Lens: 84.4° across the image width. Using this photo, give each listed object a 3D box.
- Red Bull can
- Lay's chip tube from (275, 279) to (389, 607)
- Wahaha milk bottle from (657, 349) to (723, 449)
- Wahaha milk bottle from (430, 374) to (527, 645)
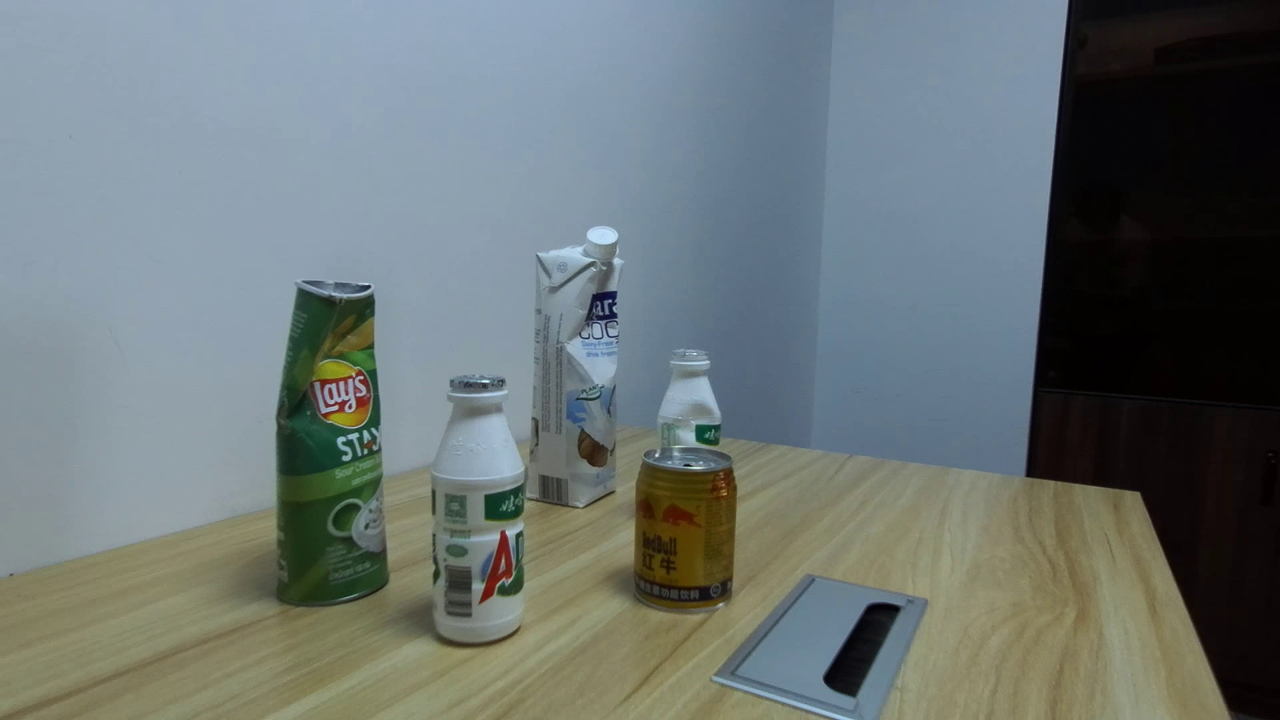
[{"bbox_3d":[0.030,0.109,0.463,0.067,0.093,0.067,2,6,0],"label":"Red Bull can"},{"bbox_3d":[-0.200,0.051,0.458,0.069,0.201,0.077,-2,9,-32],"label":"Lay's chip tube"},{"bbox_3d":[0.042,0.067,0.598,0.055,0.149,0.055,2,7,0],"label":"Wahaha milk bottle"},{"bbox_3d":[-0.092,0.084,0.406,0.053,0.147,0.053,1,5,0],"label":"Wahaha milk bottle"}]
